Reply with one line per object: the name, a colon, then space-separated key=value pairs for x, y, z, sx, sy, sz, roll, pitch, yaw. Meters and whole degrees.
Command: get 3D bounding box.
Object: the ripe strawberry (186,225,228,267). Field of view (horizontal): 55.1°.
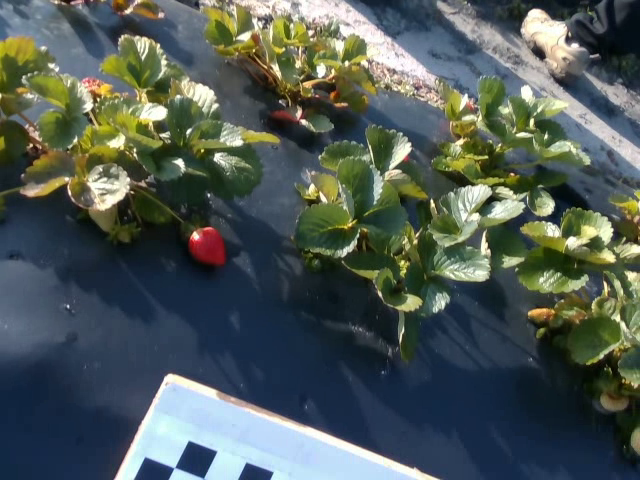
ripe strawberry: x=-0.089 y=0.009 z=0.499 sx=0.030 sy=0.045 sz=0.033 roll=-36 pitch=-24 yaw=-3
